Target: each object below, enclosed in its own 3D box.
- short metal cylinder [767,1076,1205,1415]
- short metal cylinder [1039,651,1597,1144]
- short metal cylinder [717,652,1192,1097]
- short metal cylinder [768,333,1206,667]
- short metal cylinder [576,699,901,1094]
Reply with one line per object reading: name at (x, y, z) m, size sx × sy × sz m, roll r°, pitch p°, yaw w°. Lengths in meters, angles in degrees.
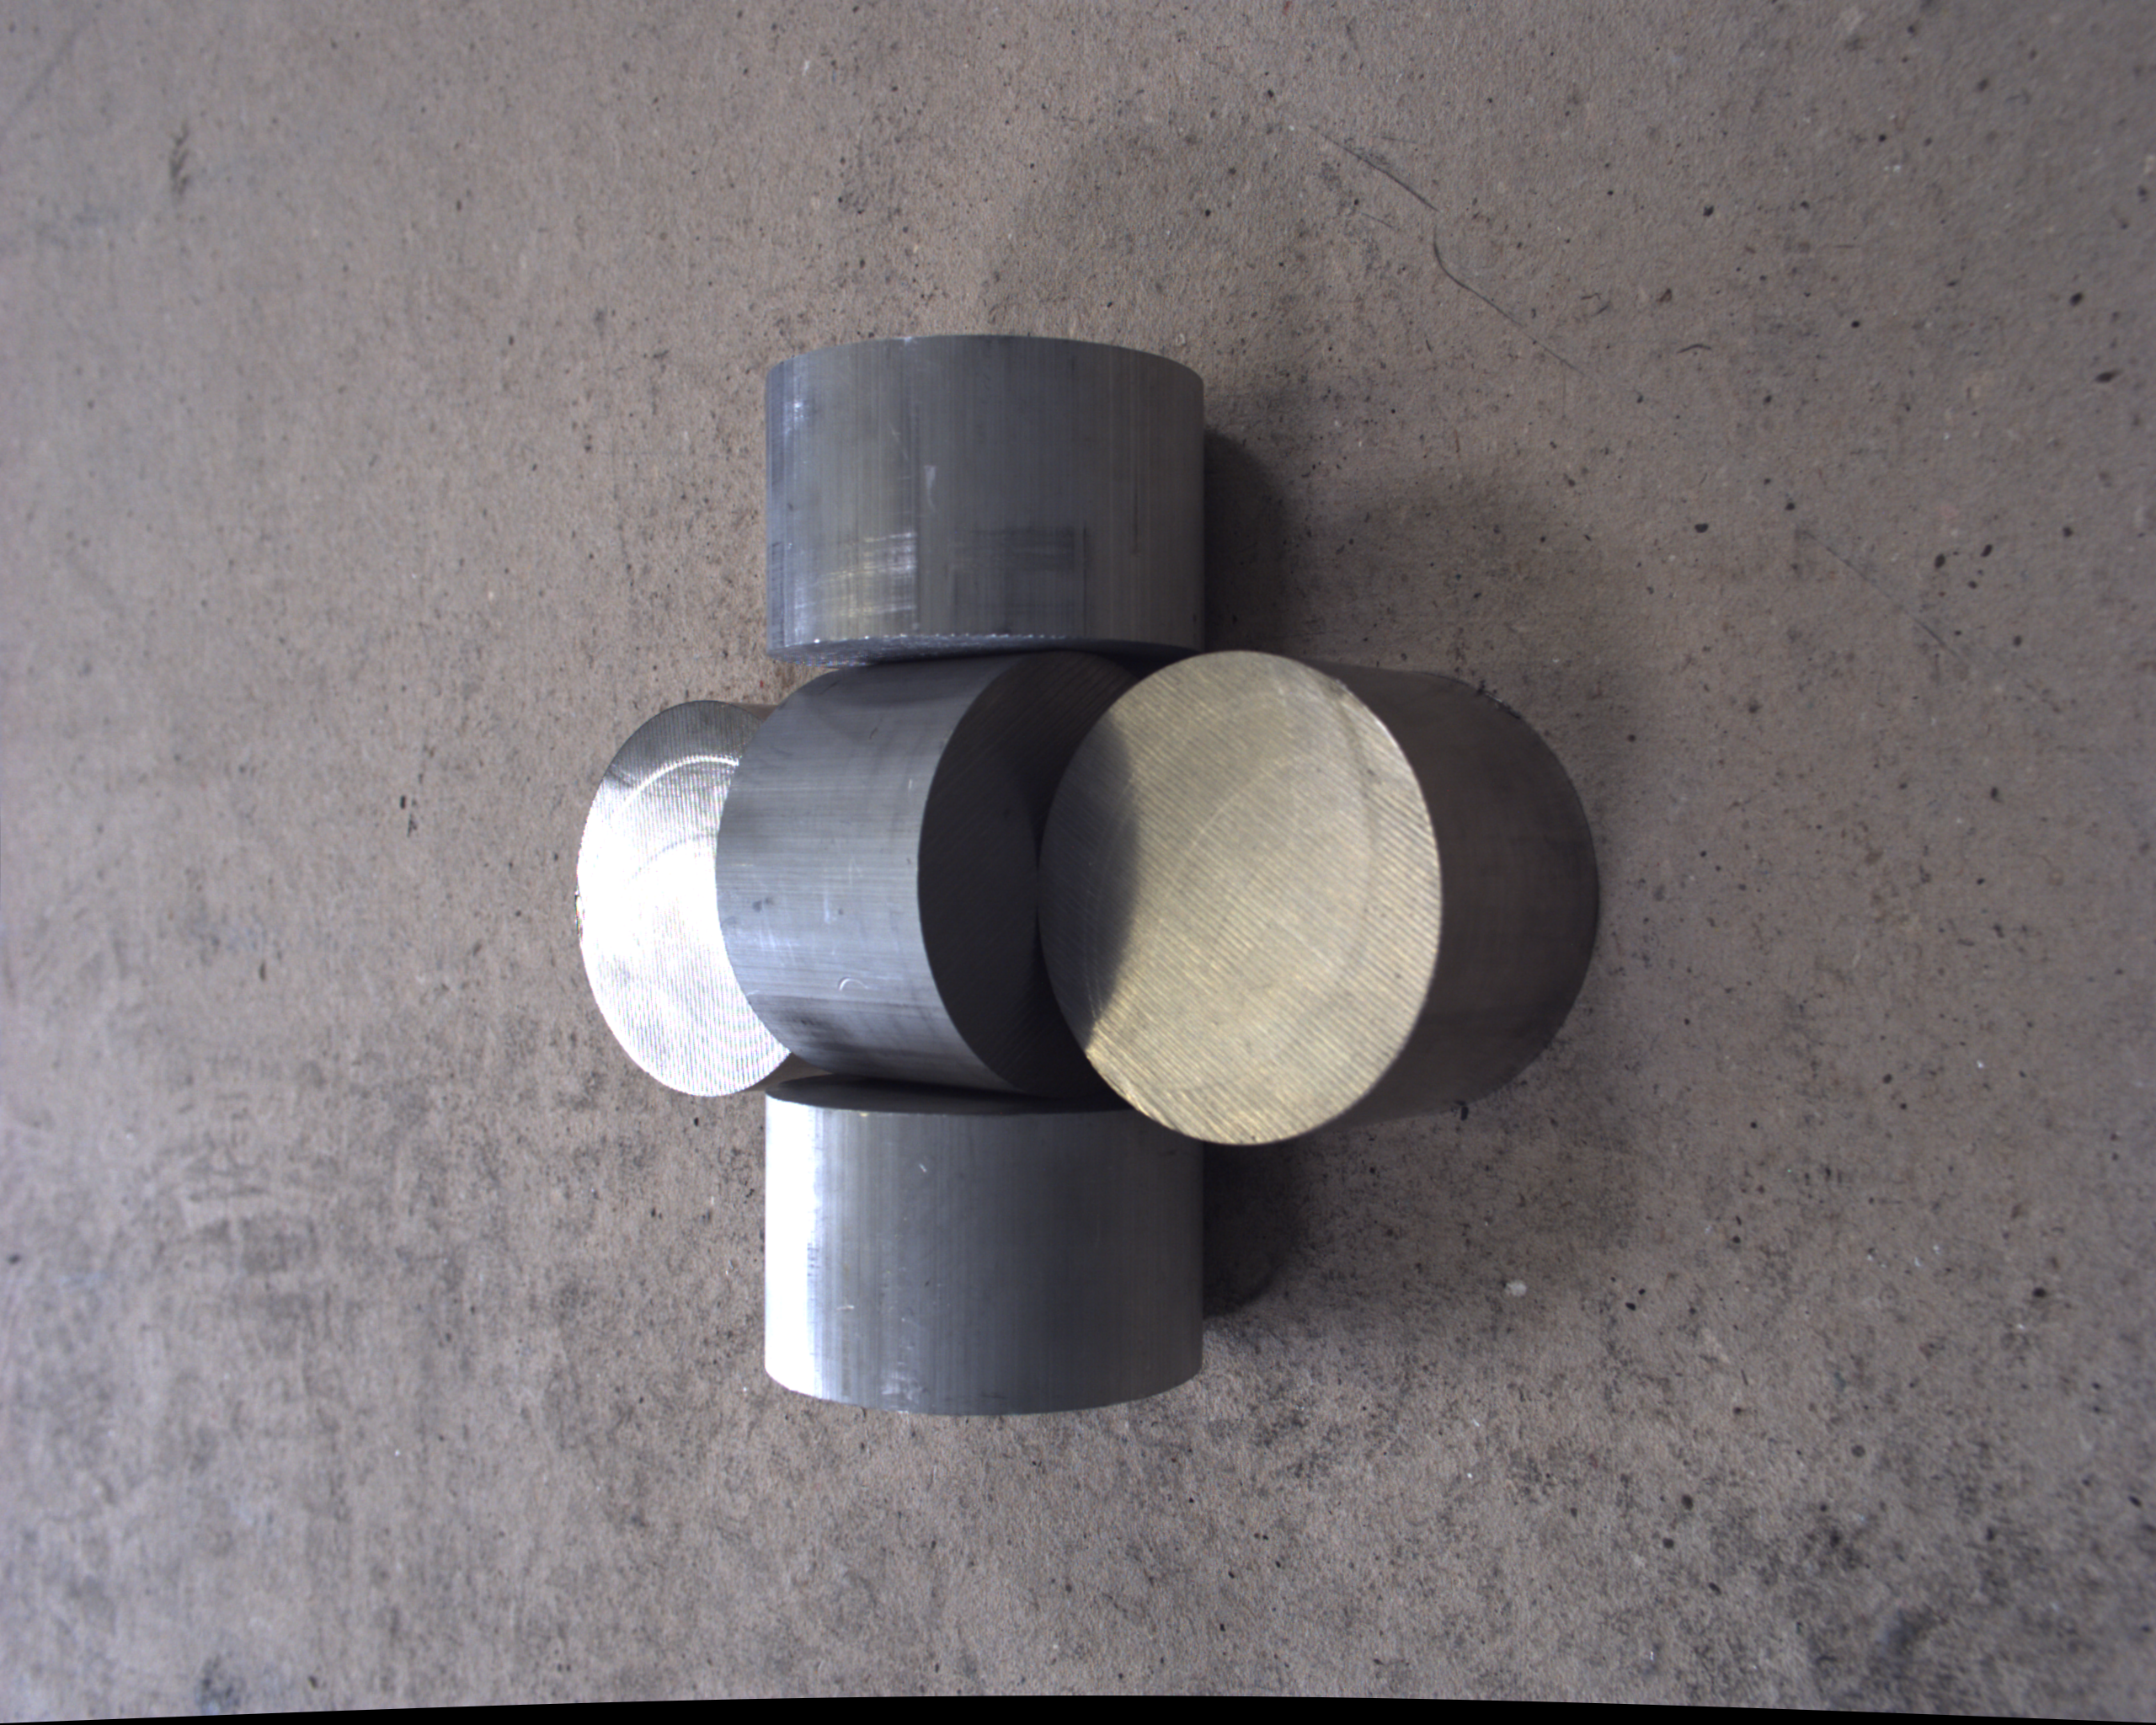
short metal cylinder at (-0.017, 0.067, 0.386) m, size 0.080 × 0.081 × 0.050 m, roll 0°, pitch 90°, yaw 40°
short metal cylinder at (0.040, 0.005, 0.357) m, size 0.080 × 0.050 × 0.080 m, roll 0°, pitch 91°, yaw 40°
short metal cylinder at (-0.019, 0.002, 0.387) m, size 0.050 × 0.081 × 0.080 m, roll 1°, pitch 91°, yaw 40°
short metal cylinder at (-0.017, -0.063, 0.385) m, size 0.080 × 0.081 × 0.050 m, roll 0°, pitch 90°, yaw 40°
short metal cylinder at (-0.060, 0.007, 0.440) m, size 0.080 × 0.050 × 0.080 m, roll 0°, pitch 90°, yaw 39°
